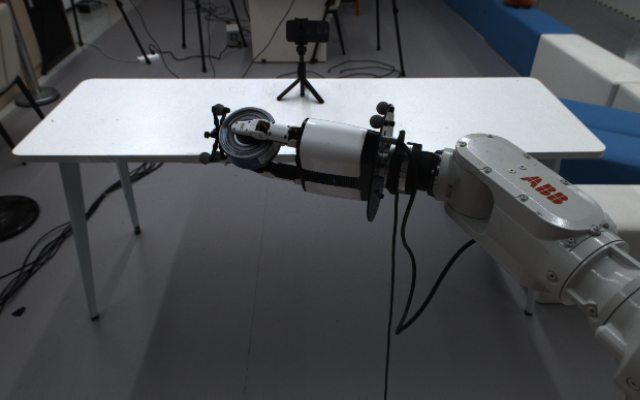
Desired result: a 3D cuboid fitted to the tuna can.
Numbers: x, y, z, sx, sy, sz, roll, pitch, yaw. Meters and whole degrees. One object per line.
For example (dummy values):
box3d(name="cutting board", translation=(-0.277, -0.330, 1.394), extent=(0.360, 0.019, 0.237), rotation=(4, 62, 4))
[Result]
box3d(name="tuna can", translation=(-0.099, -0.090, 0.694), extent=(0.085, 0.034, 0.085), rotation=(-2, 69, 6))
